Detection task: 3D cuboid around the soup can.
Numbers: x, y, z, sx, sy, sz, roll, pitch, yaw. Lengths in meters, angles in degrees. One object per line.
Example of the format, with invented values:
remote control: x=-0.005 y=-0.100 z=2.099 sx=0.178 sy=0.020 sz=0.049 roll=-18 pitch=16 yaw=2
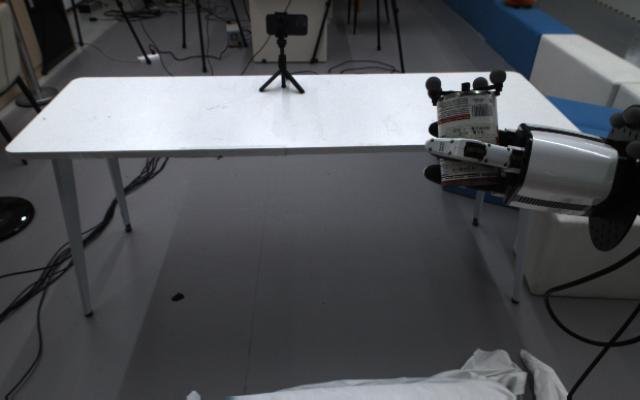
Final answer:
soup can: x=0.172 y=-0.067 z=0.555 sx=0.067 sy=0.101 sz=0.067 roll=-3 pitch=-1 yaw=0
